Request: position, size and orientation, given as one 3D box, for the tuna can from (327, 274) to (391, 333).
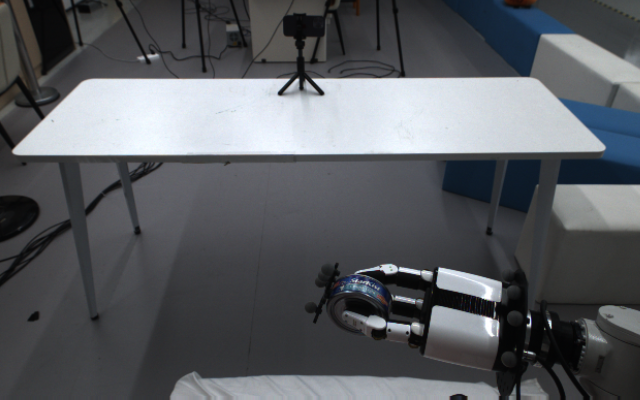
[{"bbox_3d":[0.056,0.140,0.649,0.085,0.085,0.034,9,35,10],"label":"tuna can"}]
